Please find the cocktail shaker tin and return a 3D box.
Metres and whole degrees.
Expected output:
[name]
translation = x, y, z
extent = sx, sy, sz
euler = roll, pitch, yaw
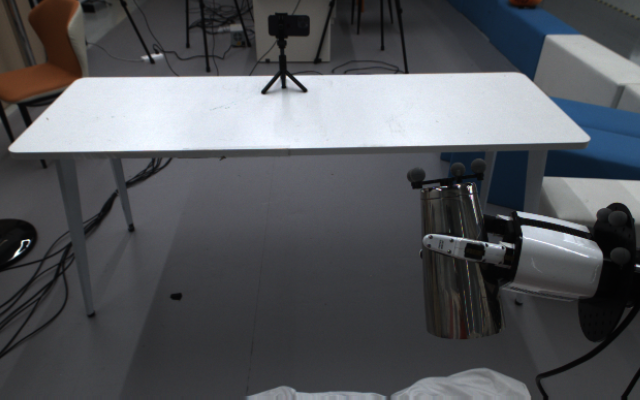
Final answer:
[cocktail shaker tin]
translation = 0.164, 0.068, 0.580
extent = 0.093, 0.170, 0.093
euler = -8, 1, 0
